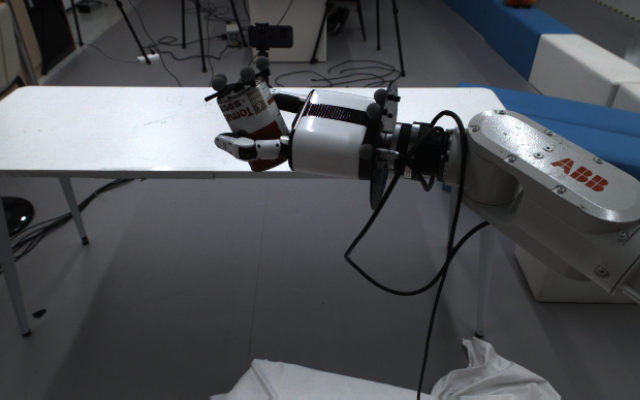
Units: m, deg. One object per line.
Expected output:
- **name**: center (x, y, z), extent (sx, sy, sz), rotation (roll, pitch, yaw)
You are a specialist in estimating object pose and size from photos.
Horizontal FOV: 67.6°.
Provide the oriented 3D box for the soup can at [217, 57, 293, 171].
- **soup can**: center (-0.079, -0.097, 0.621), extent (0.067, 0.101, 0.067), rotation (-22, 24, 10)
